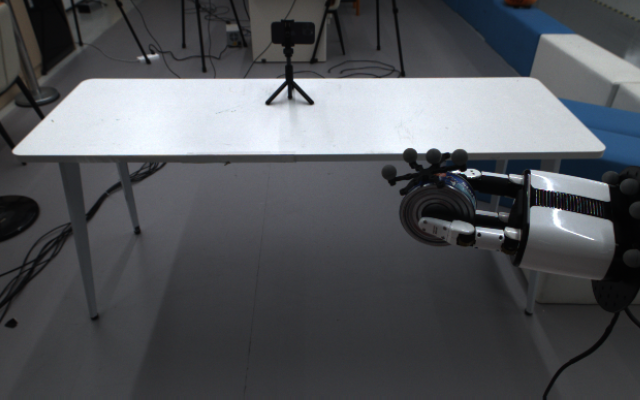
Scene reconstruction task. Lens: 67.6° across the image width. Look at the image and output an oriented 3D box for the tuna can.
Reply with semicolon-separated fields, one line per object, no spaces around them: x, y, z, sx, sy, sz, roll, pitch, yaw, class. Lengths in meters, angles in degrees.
0.138;0.008;0.558;0.085;0.085;0.034;11;34;13;tuna can
